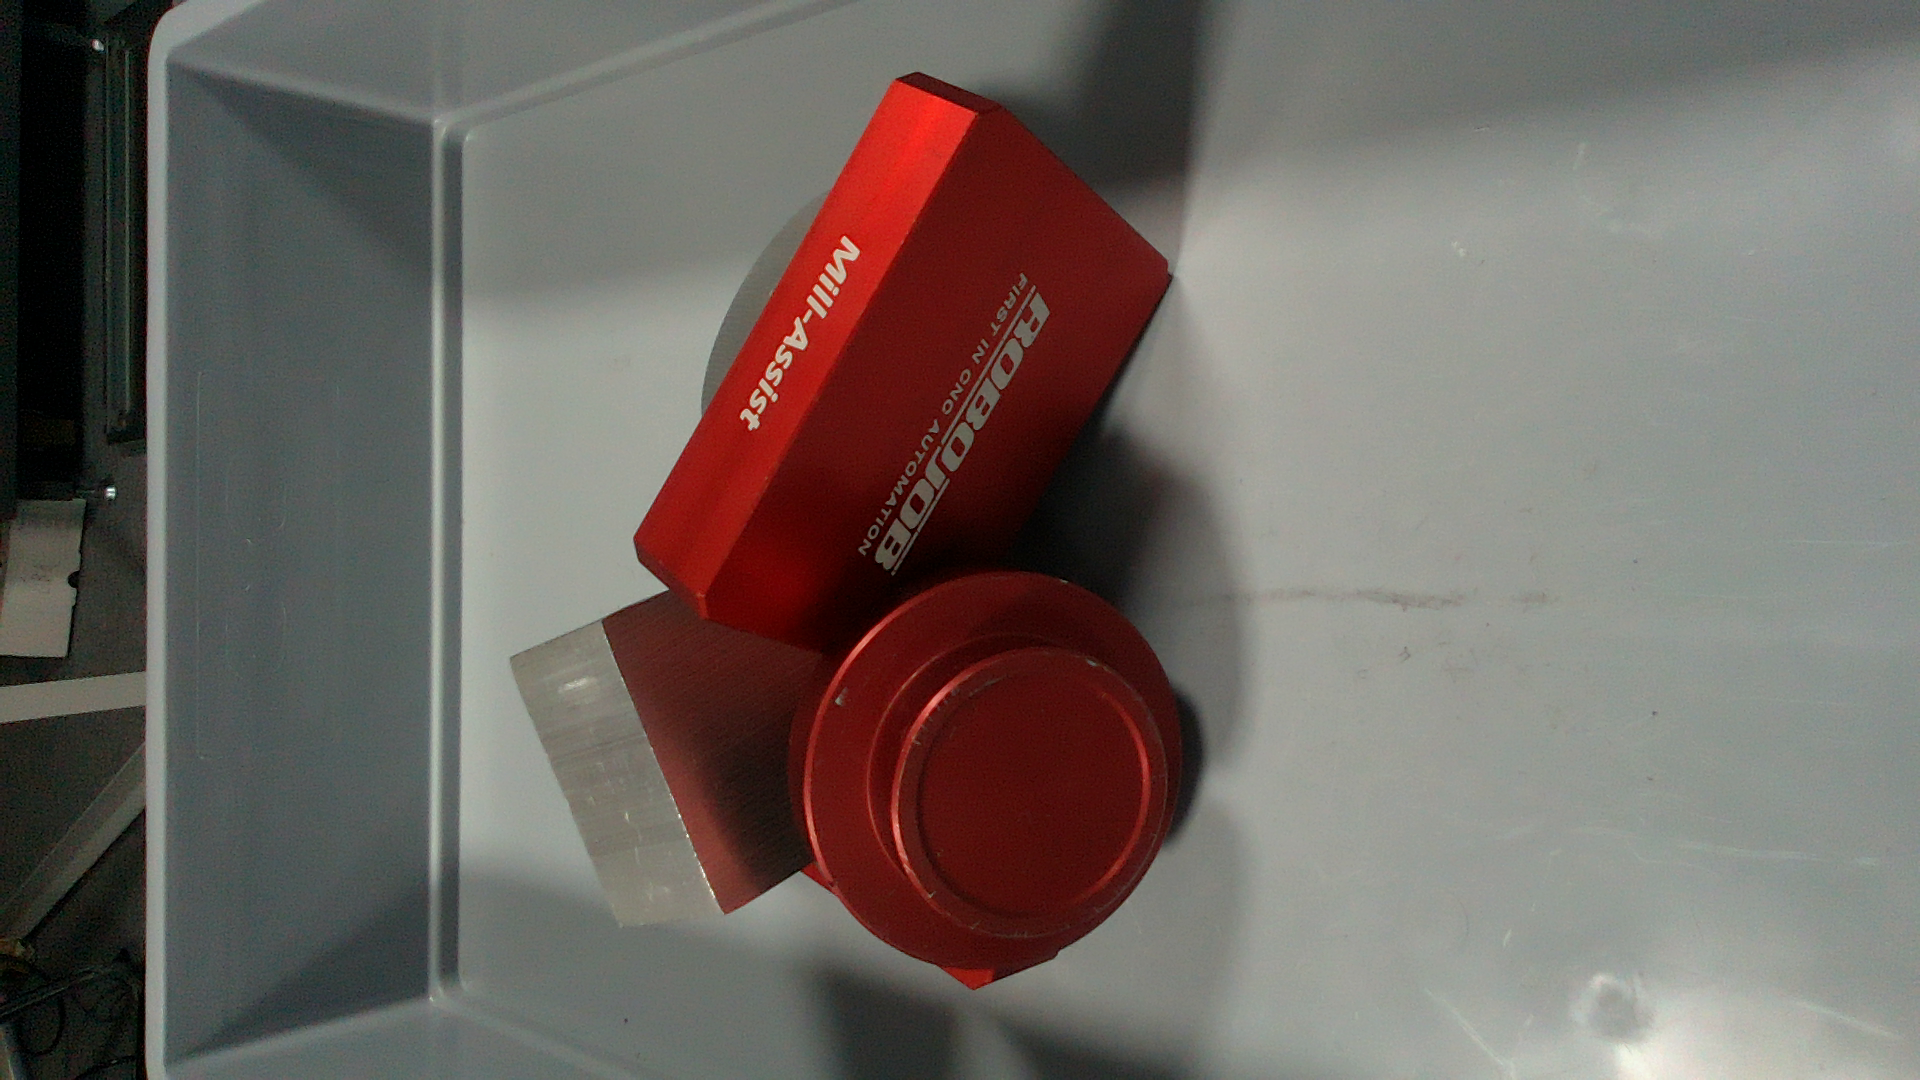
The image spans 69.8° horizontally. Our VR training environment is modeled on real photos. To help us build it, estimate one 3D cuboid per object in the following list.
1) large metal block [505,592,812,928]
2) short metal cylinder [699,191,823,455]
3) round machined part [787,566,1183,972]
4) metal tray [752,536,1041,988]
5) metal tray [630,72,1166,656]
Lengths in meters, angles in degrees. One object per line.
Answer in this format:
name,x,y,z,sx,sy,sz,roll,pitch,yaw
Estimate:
large metal block,-0.064,0.050,0.381,0.050,0.080,0.080,-21,93,44
short metal cylinder,-0.028,-0.050,0.381,0.080,0.050,0.080,-31,45,37
round machined part,0.011,0.057,0.332,0.042,0.098,0.098,-165,79,-70
metal tray,-0.022,0.059,0.407,0.130,0.030,0.090,22,104,38
metal tray,-0.011,-0.034,0.340,0.030,0.090,0.130,34,96,38
